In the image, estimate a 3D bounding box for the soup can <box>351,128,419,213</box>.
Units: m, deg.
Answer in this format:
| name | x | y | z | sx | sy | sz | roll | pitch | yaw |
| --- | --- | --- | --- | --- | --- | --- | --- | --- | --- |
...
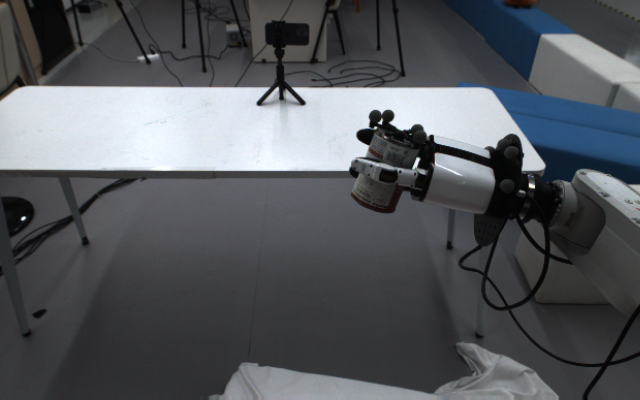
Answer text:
| name | x | y | z | sx | sy | sz | roll | pitch | yaw |
| --- | --- | --- | --- | --- | --- | --- | --- | --- | --- |
| soup can | 0.093 | -0.042 | 0.674 | 0.067 | 0.101 | 0.067 | 17 | 21 | -7 |
